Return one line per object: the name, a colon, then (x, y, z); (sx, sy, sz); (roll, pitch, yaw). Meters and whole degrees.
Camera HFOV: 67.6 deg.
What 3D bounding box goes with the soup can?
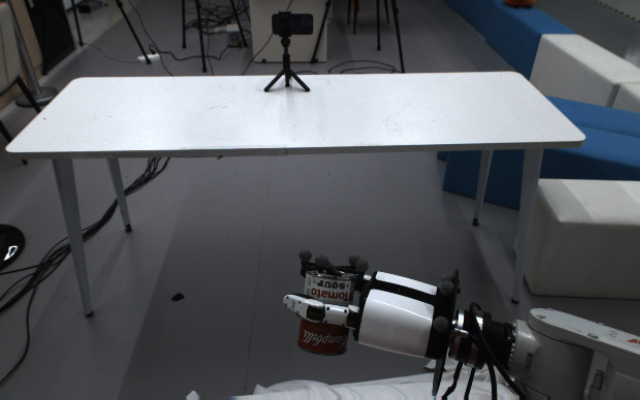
soup can: (0.010, 0.145, 0.640); (0.067, 0.101, 0.067); (7, 3, 0)
